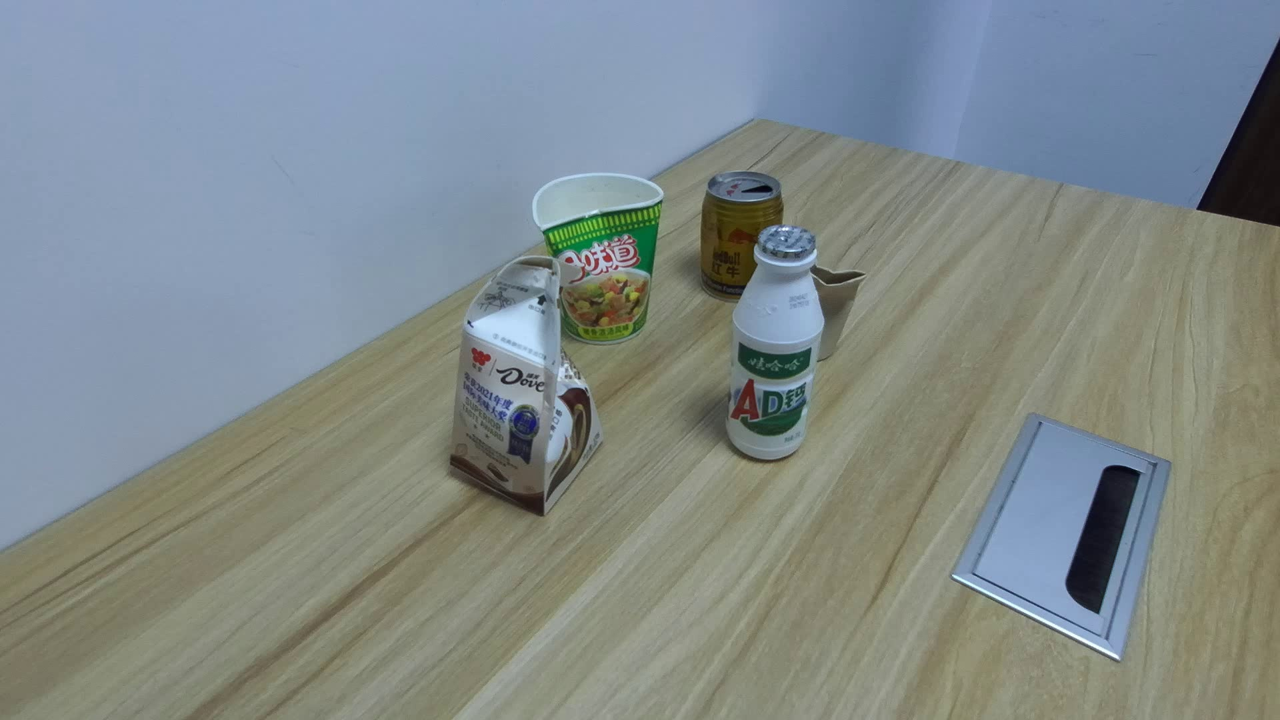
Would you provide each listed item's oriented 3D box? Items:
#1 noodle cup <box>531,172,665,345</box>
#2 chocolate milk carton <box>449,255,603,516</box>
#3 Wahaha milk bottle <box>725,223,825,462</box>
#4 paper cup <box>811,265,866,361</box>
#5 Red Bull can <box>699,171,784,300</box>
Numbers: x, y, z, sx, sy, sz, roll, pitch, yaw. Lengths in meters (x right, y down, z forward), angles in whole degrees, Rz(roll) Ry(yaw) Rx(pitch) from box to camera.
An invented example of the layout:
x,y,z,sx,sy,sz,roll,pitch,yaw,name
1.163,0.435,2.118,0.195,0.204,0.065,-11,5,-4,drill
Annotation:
x,y,z,sx,sy,sz,roll,pitch,yaw,name
-0.028,-0.077,0.548,0.094,0.109,0.087,-3,37,0,noodle cup
-0.065,0.004,0.420,0.076,0.155,0.089,16,28,17,chocolate milk carton
0.080,-0.007,0.420,0.053,0.147,0.053,-2,38,2,Wahaha milk bottle
0.129,-0.044,0.521,0.058,0.083,0.066,9,40,9,paper cup
0.085,-0.101,0.589,0.068,0.093,0.068,0,33,1,Red Bull can
